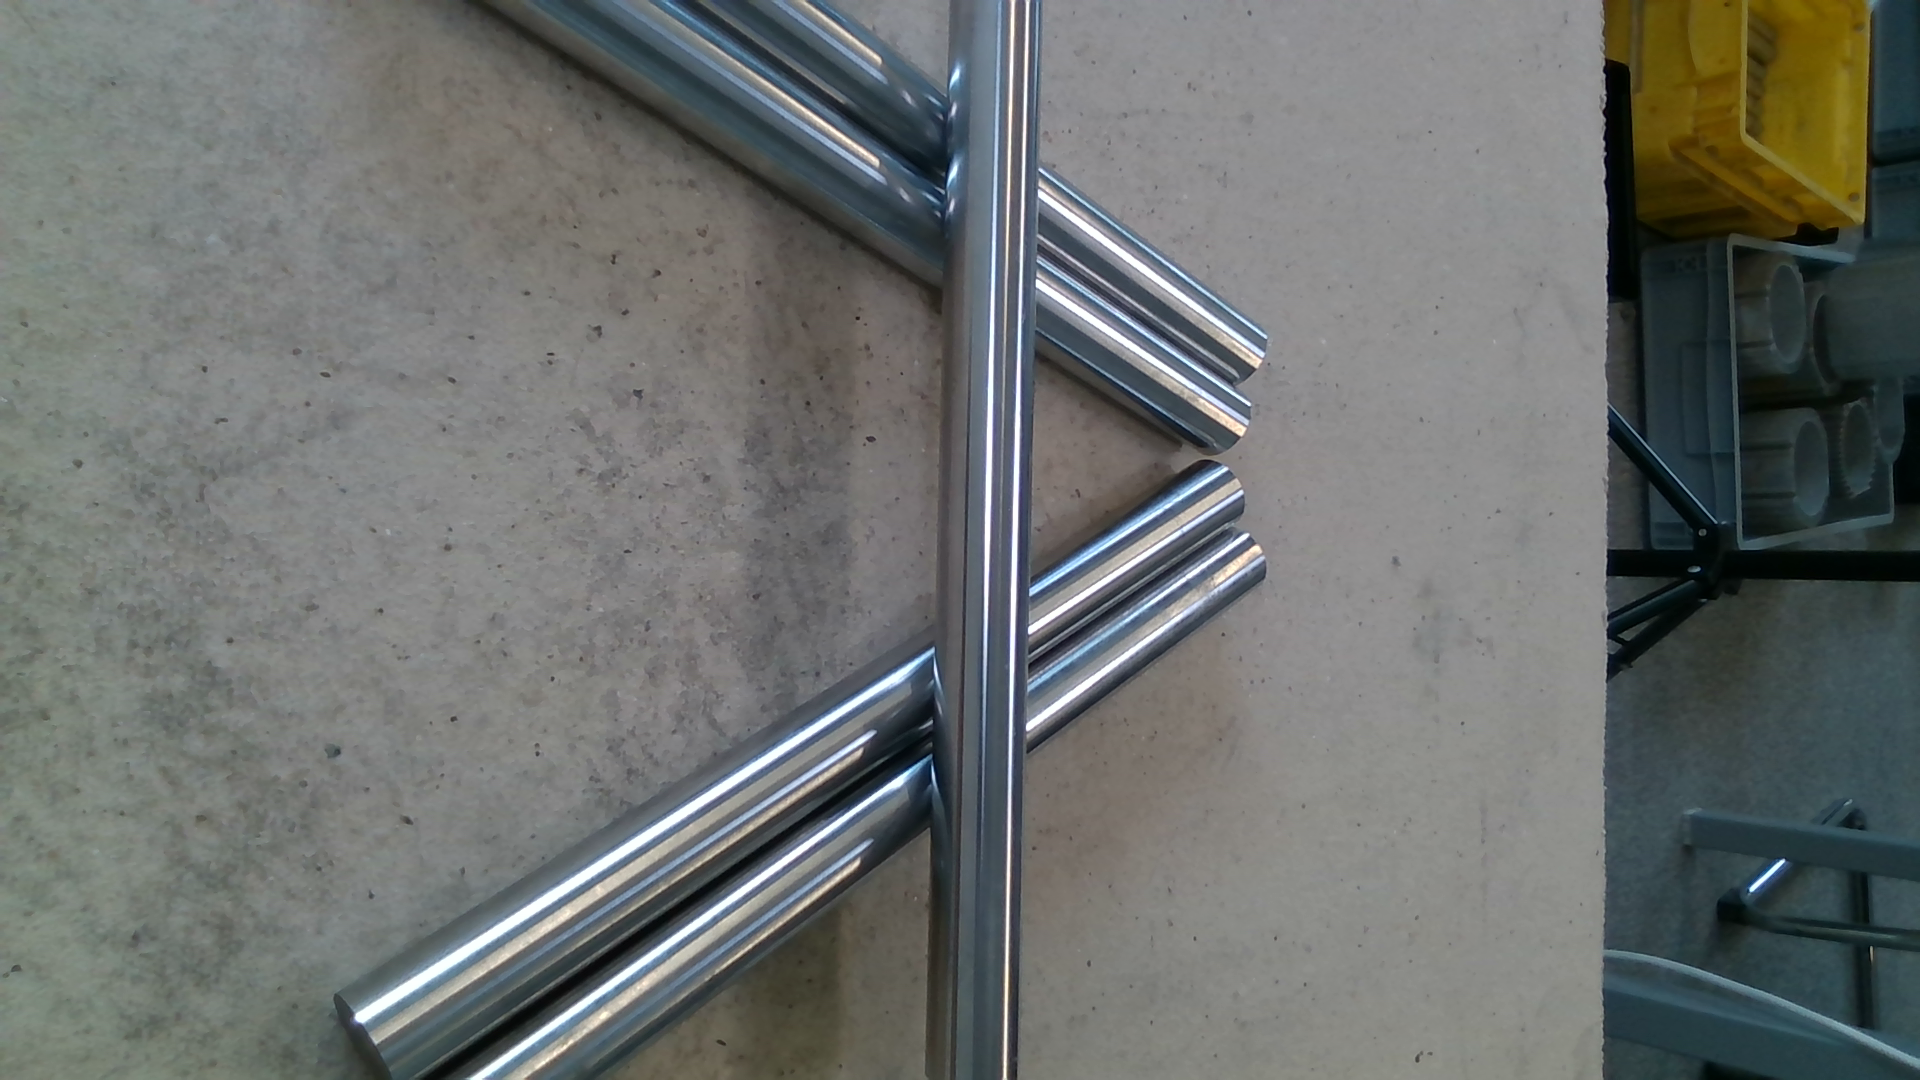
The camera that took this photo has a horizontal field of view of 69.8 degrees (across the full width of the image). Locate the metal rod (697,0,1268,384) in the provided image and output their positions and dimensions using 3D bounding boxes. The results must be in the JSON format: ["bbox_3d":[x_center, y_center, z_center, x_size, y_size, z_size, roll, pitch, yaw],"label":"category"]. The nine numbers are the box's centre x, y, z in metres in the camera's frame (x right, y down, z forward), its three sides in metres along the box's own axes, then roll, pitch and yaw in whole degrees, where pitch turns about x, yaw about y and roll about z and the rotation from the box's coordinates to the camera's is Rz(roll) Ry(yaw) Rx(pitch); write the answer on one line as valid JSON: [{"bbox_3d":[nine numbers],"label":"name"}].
[{"bbox_3d":[-0.013,-0.116,0.380,0.301,0.025,0.025,26,74,-37],"label":"metal rod"}]

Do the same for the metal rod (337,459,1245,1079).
[{"bbox_3d":[-0.019,0.045,0.376,0.300,0.025,0.025,-30,109,-36],"label":"metal rod"}]

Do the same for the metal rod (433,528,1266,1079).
[{"bbox_3d":[-0.011,0.067,0.383,0.300,0.025,0.025,-30,109,-36],"label":"metal rod"}]

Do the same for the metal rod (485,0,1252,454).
[{"bbox_3d":[-0.019,-0.092,0.374,0.301,0.025,0.025,26,74,-37],"label":"metal rod"}]

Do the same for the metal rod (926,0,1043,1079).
[{"bbox_3d":[0.007,-0.010,0.364,0.025,0.025,0.300,2,89,-40],"label":"metal rod"}]
